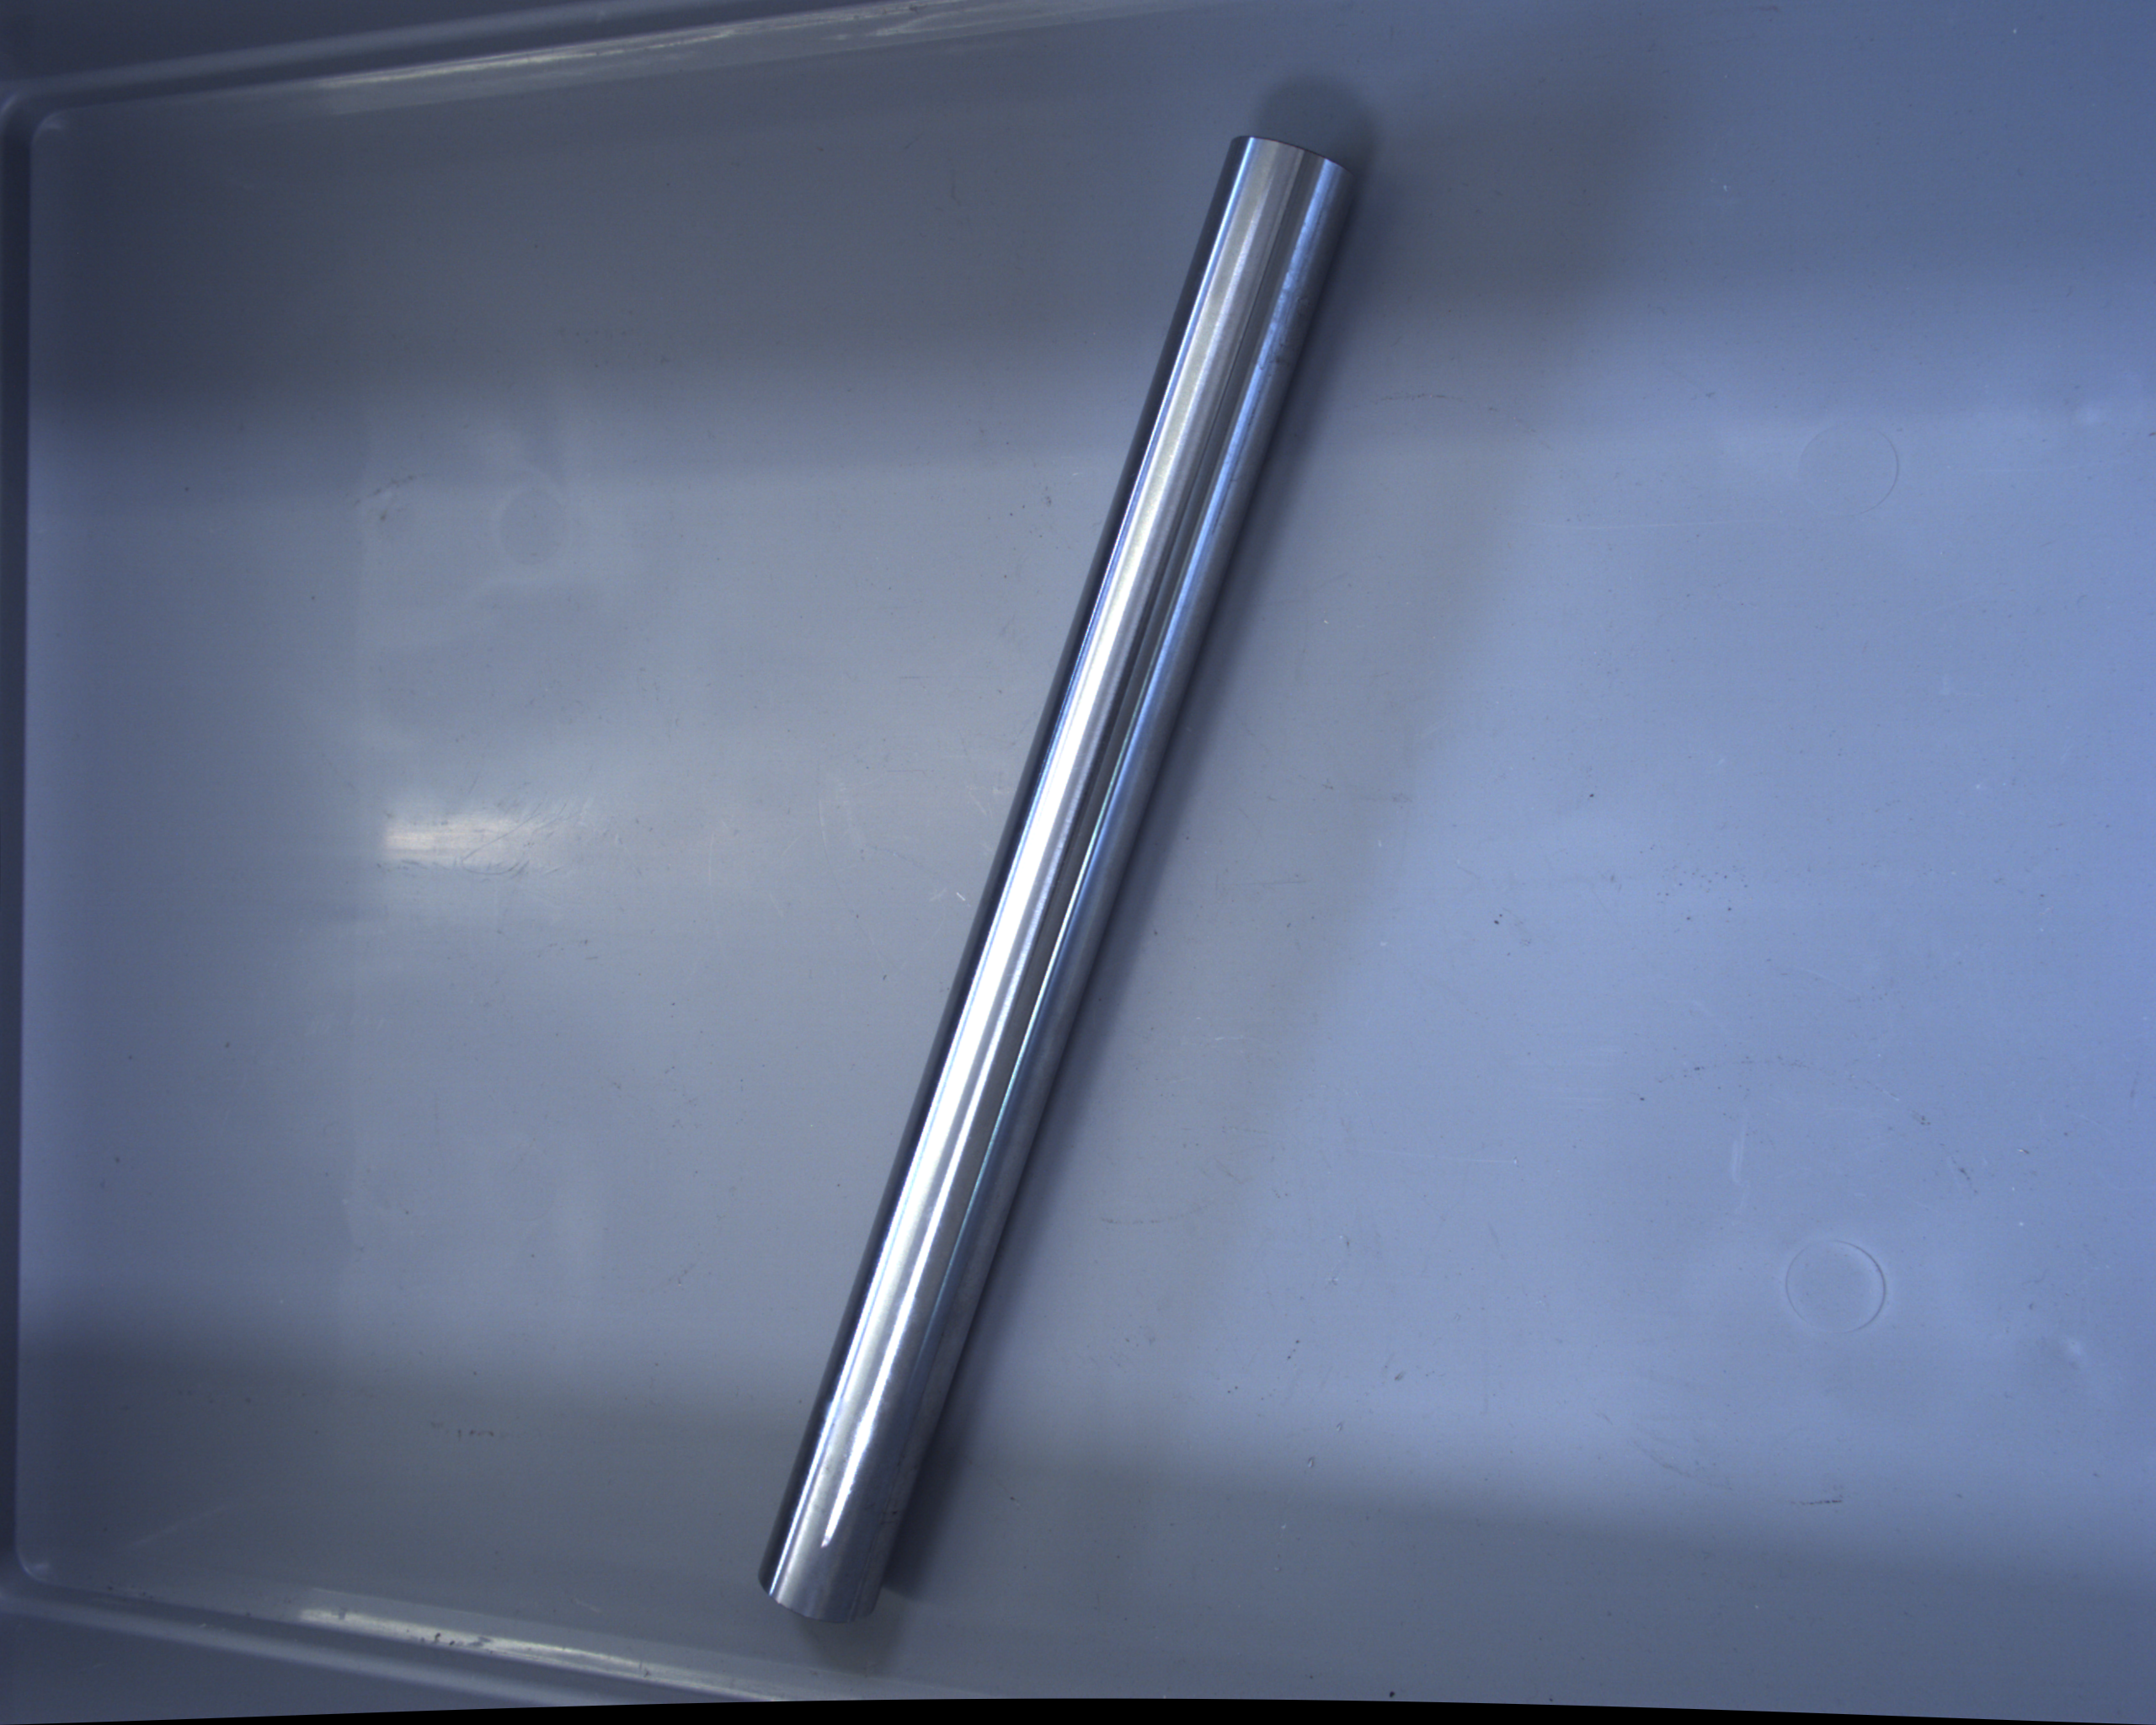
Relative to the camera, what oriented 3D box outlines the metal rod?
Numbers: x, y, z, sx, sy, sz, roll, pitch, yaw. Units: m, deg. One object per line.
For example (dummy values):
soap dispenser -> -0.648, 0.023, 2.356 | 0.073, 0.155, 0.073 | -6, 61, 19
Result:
metal rod -> -0.007, 0.008, 0.411 | 0.025, 0.025, 0.298 | 21, 97, 19
